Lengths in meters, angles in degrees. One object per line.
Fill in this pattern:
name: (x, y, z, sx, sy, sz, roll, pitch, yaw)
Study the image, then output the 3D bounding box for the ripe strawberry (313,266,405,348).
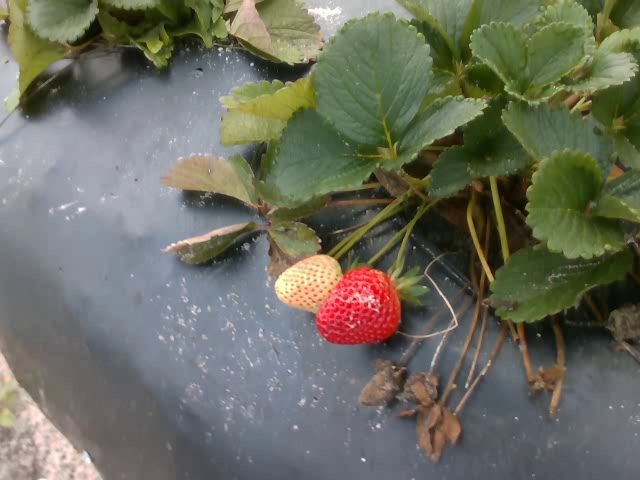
ripe strawberry: (0.014, 0.028, 0.247, 0.042, 0.034, 0.033, -16, -21, -27)
